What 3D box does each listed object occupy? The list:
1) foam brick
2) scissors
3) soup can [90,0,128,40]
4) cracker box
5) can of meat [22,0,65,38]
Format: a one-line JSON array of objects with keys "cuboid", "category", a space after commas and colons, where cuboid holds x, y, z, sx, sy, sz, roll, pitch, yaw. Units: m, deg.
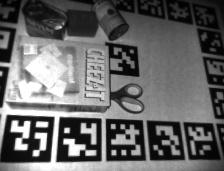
[{"cuboid": [-0.088, -0.177, 0.599, 0.079, 0.051, 0.052, -5, 74, -19], "category": "foam brick"}, {"cuboid": [-0.021, 0.028, 0.556, 0.204, 0.016, 0.087, 1, 72, -17], "category": "scissors"}, {"cuboid": [-0.009, -0.195, 0.629, 0.068, 0.068, 0.101, -33, 79, -24], "category": "soup can"}, {"cuboid": [-0.125, -0.026, 0.508, 0.215, 0.072, 0.163, -1, 71, -13], "category": "cracker box"}, {"cuboid": [-0.176, -0.161, 0.545, 0.102, 0.083, 0.058, 19, 68, -10], "category": "can of meat"}]
